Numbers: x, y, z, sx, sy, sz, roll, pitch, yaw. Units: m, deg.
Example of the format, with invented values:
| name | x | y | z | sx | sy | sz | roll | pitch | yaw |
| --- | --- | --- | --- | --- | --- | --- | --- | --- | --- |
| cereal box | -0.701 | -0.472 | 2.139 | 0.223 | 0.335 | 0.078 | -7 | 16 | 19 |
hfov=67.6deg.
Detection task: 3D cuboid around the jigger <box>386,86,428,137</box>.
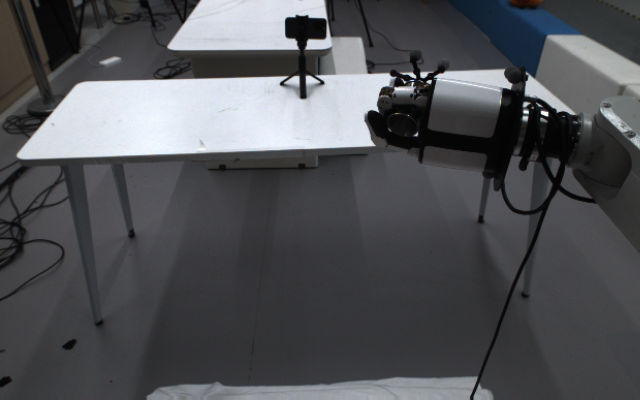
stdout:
| name | x | y | z | sx | sy | sz | roll | pitch | yaw |
| --- | --- | --- | --- | --- | --- | --- | --- | --- | --- |
| jigger | 0.122 | -0.129 | 0.654 | 0.043 | 0.043 | 0.071 | 15 | 58 | 18 |
